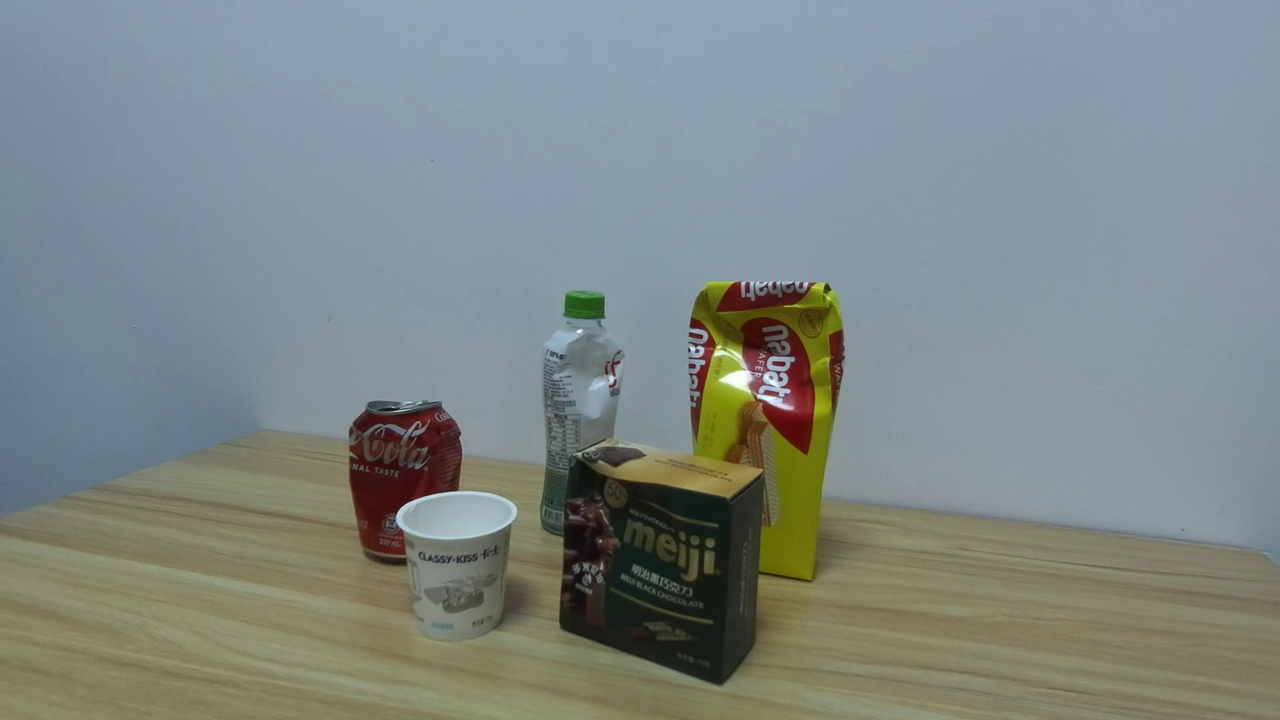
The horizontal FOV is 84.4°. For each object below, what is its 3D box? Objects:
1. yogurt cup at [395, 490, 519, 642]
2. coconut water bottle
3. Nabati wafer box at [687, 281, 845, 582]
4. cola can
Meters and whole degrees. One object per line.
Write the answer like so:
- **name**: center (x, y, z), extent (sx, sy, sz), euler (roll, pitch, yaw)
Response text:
- **yogurt cup**: center (-0.109, 0.124, 0.427), extent (0.072, 0.068, 0.072), euler (2, 11, 0)
- **coconut water bottle**: center (-0.046, 0.041, 0.558), extent (0.069, 0.186, 0.069), euler (3, 7, 0)
- **Nabati wafer box**: center (0.085, 0.048, 0.501), extent (0.113, 0.205, 0.043), euler (4, 9, 17)
- **cola can**: center (-0.169, 0.085, 0.518), extent (0.069, 0.112, 0.066), euler (11, 15, 34)
